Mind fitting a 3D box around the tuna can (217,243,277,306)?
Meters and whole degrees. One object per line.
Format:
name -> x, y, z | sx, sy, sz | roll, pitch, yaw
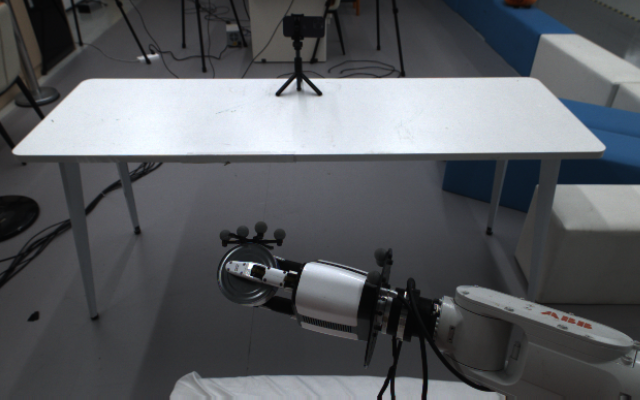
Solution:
tuna can -> -0.096, 0.110, 0.674 | 0.085, 0.034, 0.085 | -2, 69, 6
